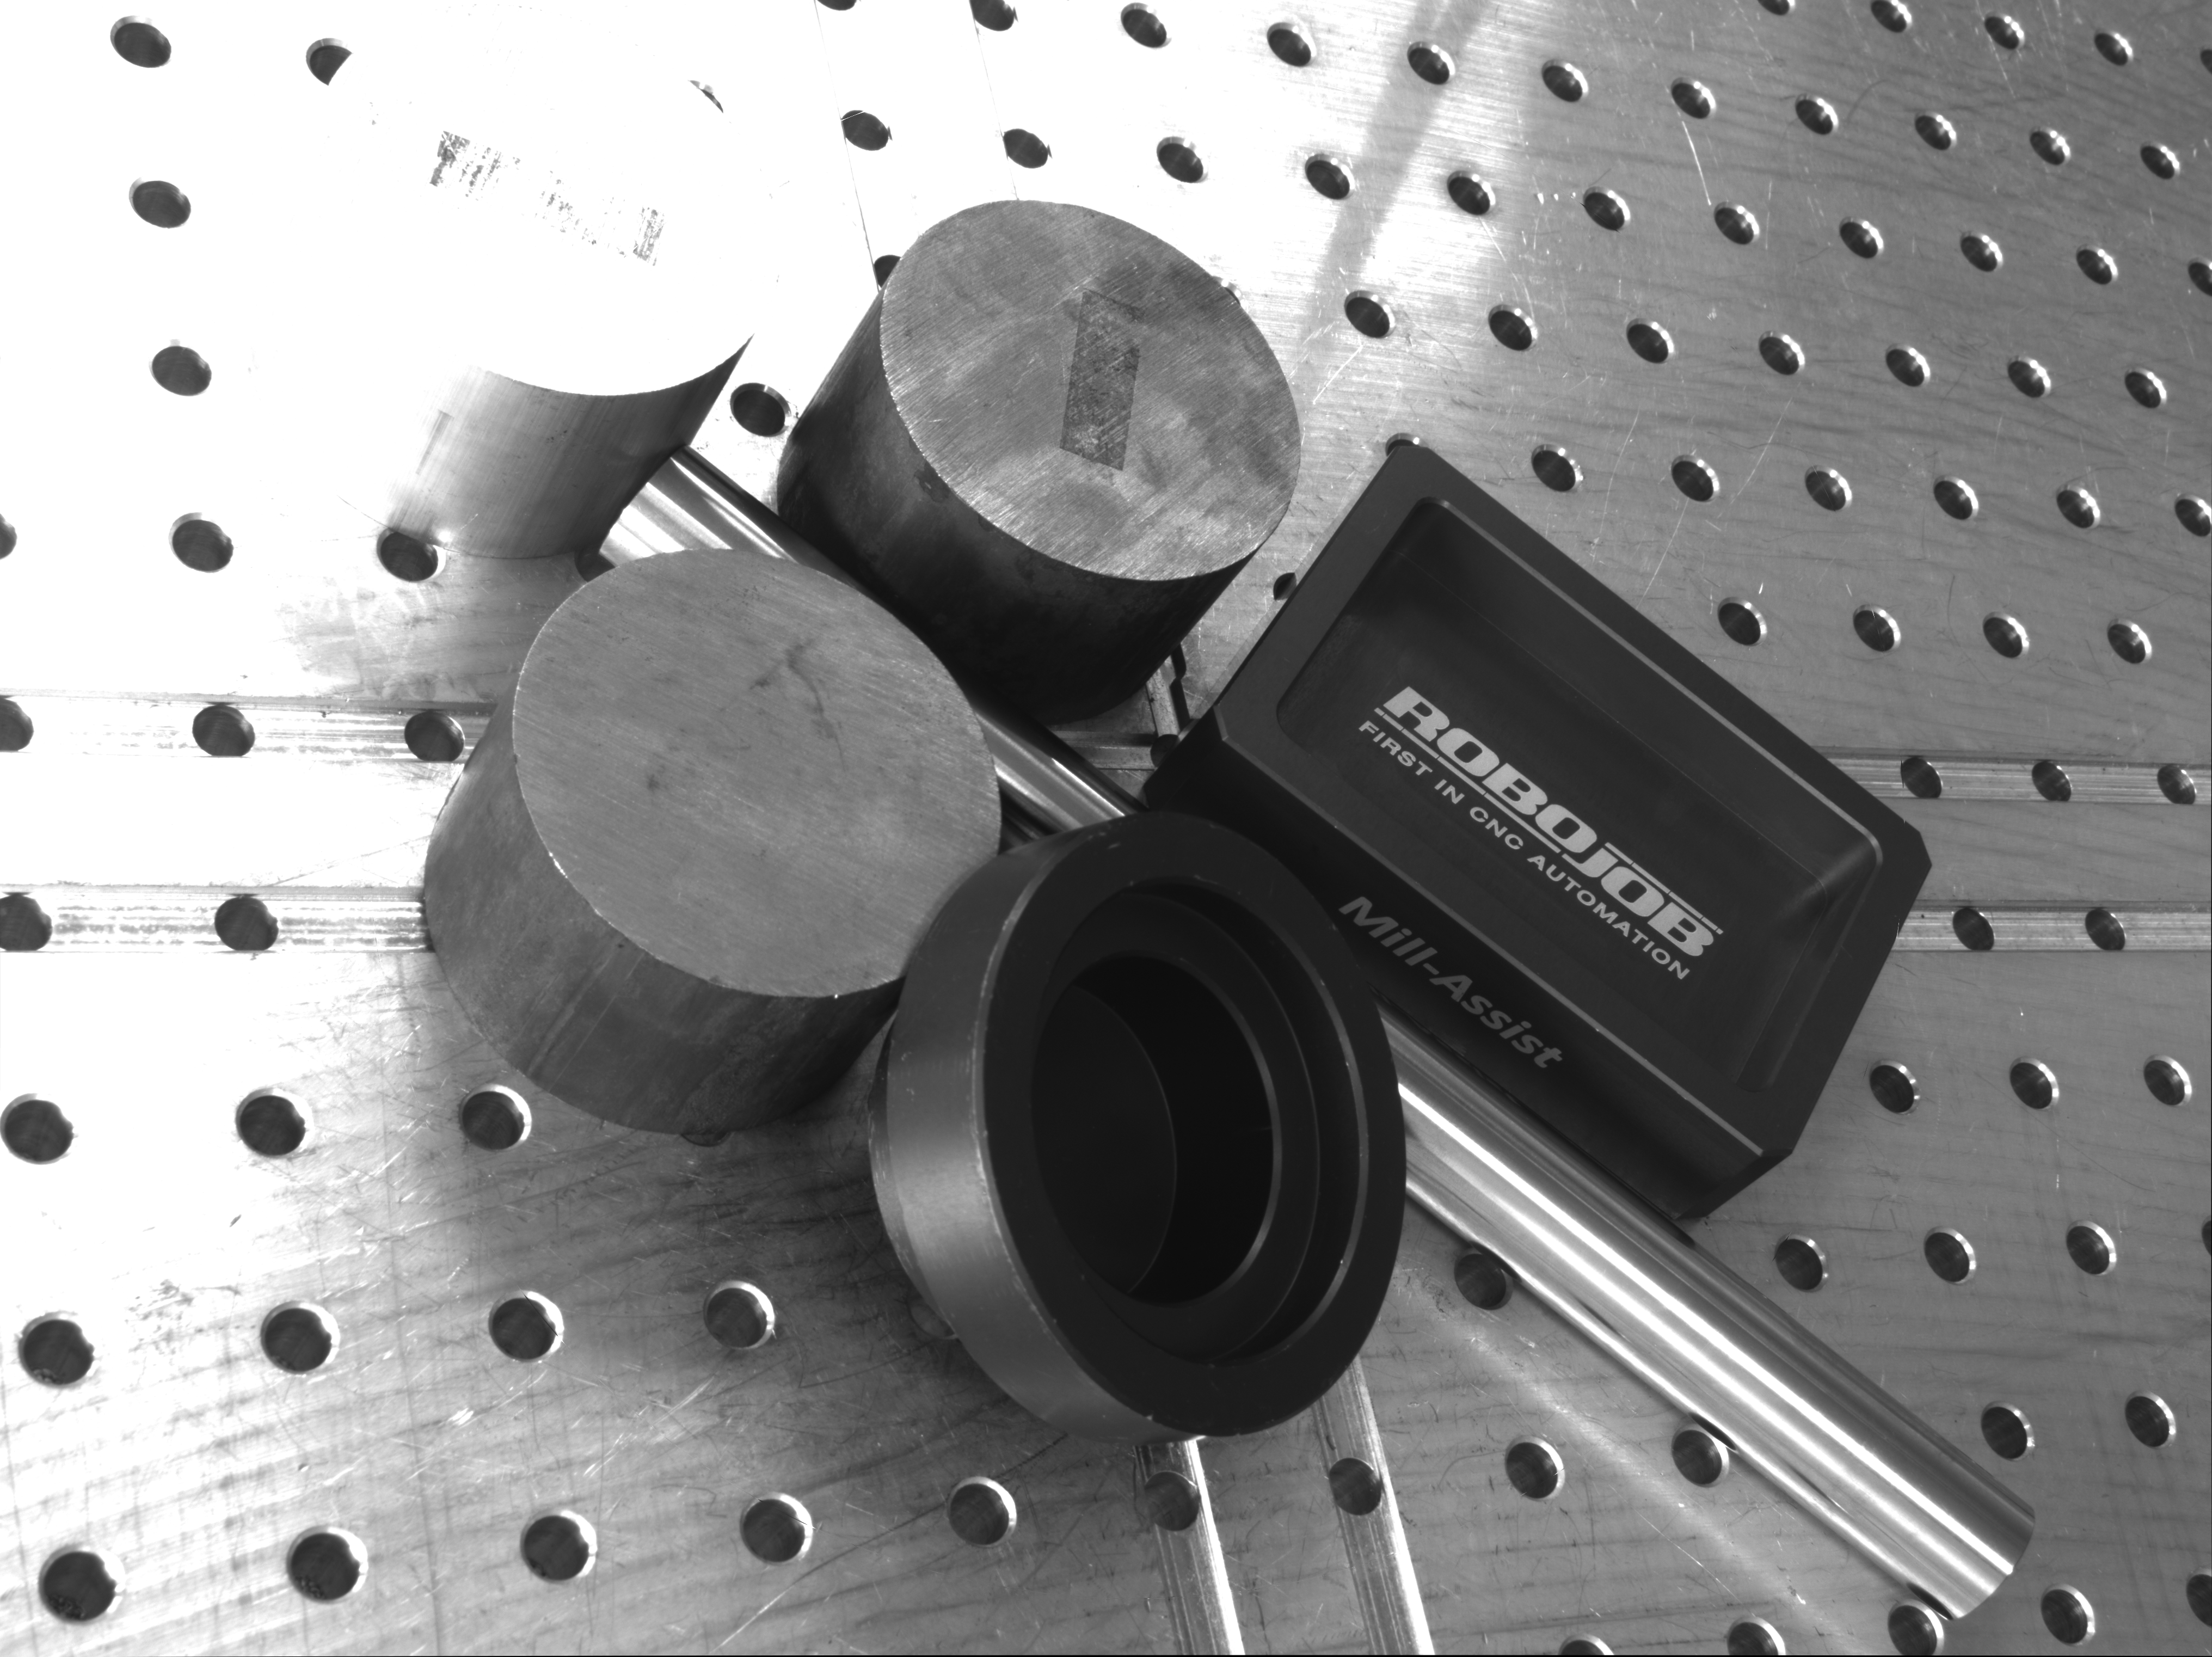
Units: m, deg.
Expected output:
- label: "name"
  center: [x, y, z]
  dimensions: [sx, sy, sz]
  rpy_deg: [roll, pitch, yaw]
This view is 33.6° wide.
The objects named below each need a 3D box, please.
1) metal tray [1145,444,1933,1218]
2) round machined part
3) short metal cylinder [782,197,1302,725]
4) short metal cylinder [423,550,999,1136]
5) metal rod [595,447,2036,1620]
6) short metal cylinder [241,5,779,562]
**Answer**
- label: "metal tray"
  center: [0.082, -0.001, 0.682]
  dimensions: [0.130, 0.030, 0.090]
  rpy_deg: [38, 52, -3]
- label: "round machined part"
  center: [0.000, 0.049, 0.587]
  dimensions: [0.098, 0.042, 0.098]
  rpy_deg: [17, 66, -43]
- label: "short metal cylinder"
  center: [-0.012, -0.066, 0.658]
  dimensions: [0.080, 0.050, 0.080]
  rpy_deg: [14, 56, -21]
- label: "short metal cylinder"
  center: [-0.064, 0.002, 0.590]
  dimensions: [0.080, 0.050, 0.080]
  rpy_deg: [14, 56, -21]
- label: "metal rod"
  center: [0.037, 0.037, 0.640]
  dimensions: [0.300, 0.025, 0.025]
  rpy_deg: [38, 51, -2]
- label: "short metal cylinder"
  center: [-0.102, -0.093, 0.628]
  dimensions: [0.080, 0.050, 0.080]
  rpy_deg: [14, 56, -21]
